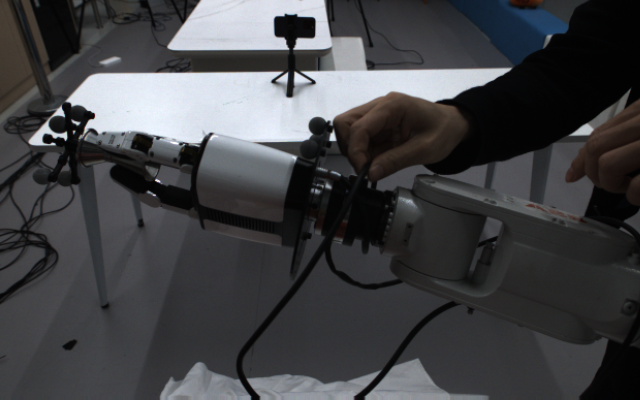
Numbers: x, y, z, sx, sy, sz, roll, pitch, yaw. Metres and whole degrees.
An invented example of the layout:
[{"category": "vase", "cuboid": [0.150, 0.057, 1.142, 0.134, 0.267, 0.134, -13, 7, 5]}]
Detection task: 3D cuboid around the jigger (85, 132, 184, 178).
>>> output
[{"category": "jigger", "cuboid": [-0.192, -0.047, 0.485, 0.071, 0.043, 0.043, 11, 35, 1]}]
